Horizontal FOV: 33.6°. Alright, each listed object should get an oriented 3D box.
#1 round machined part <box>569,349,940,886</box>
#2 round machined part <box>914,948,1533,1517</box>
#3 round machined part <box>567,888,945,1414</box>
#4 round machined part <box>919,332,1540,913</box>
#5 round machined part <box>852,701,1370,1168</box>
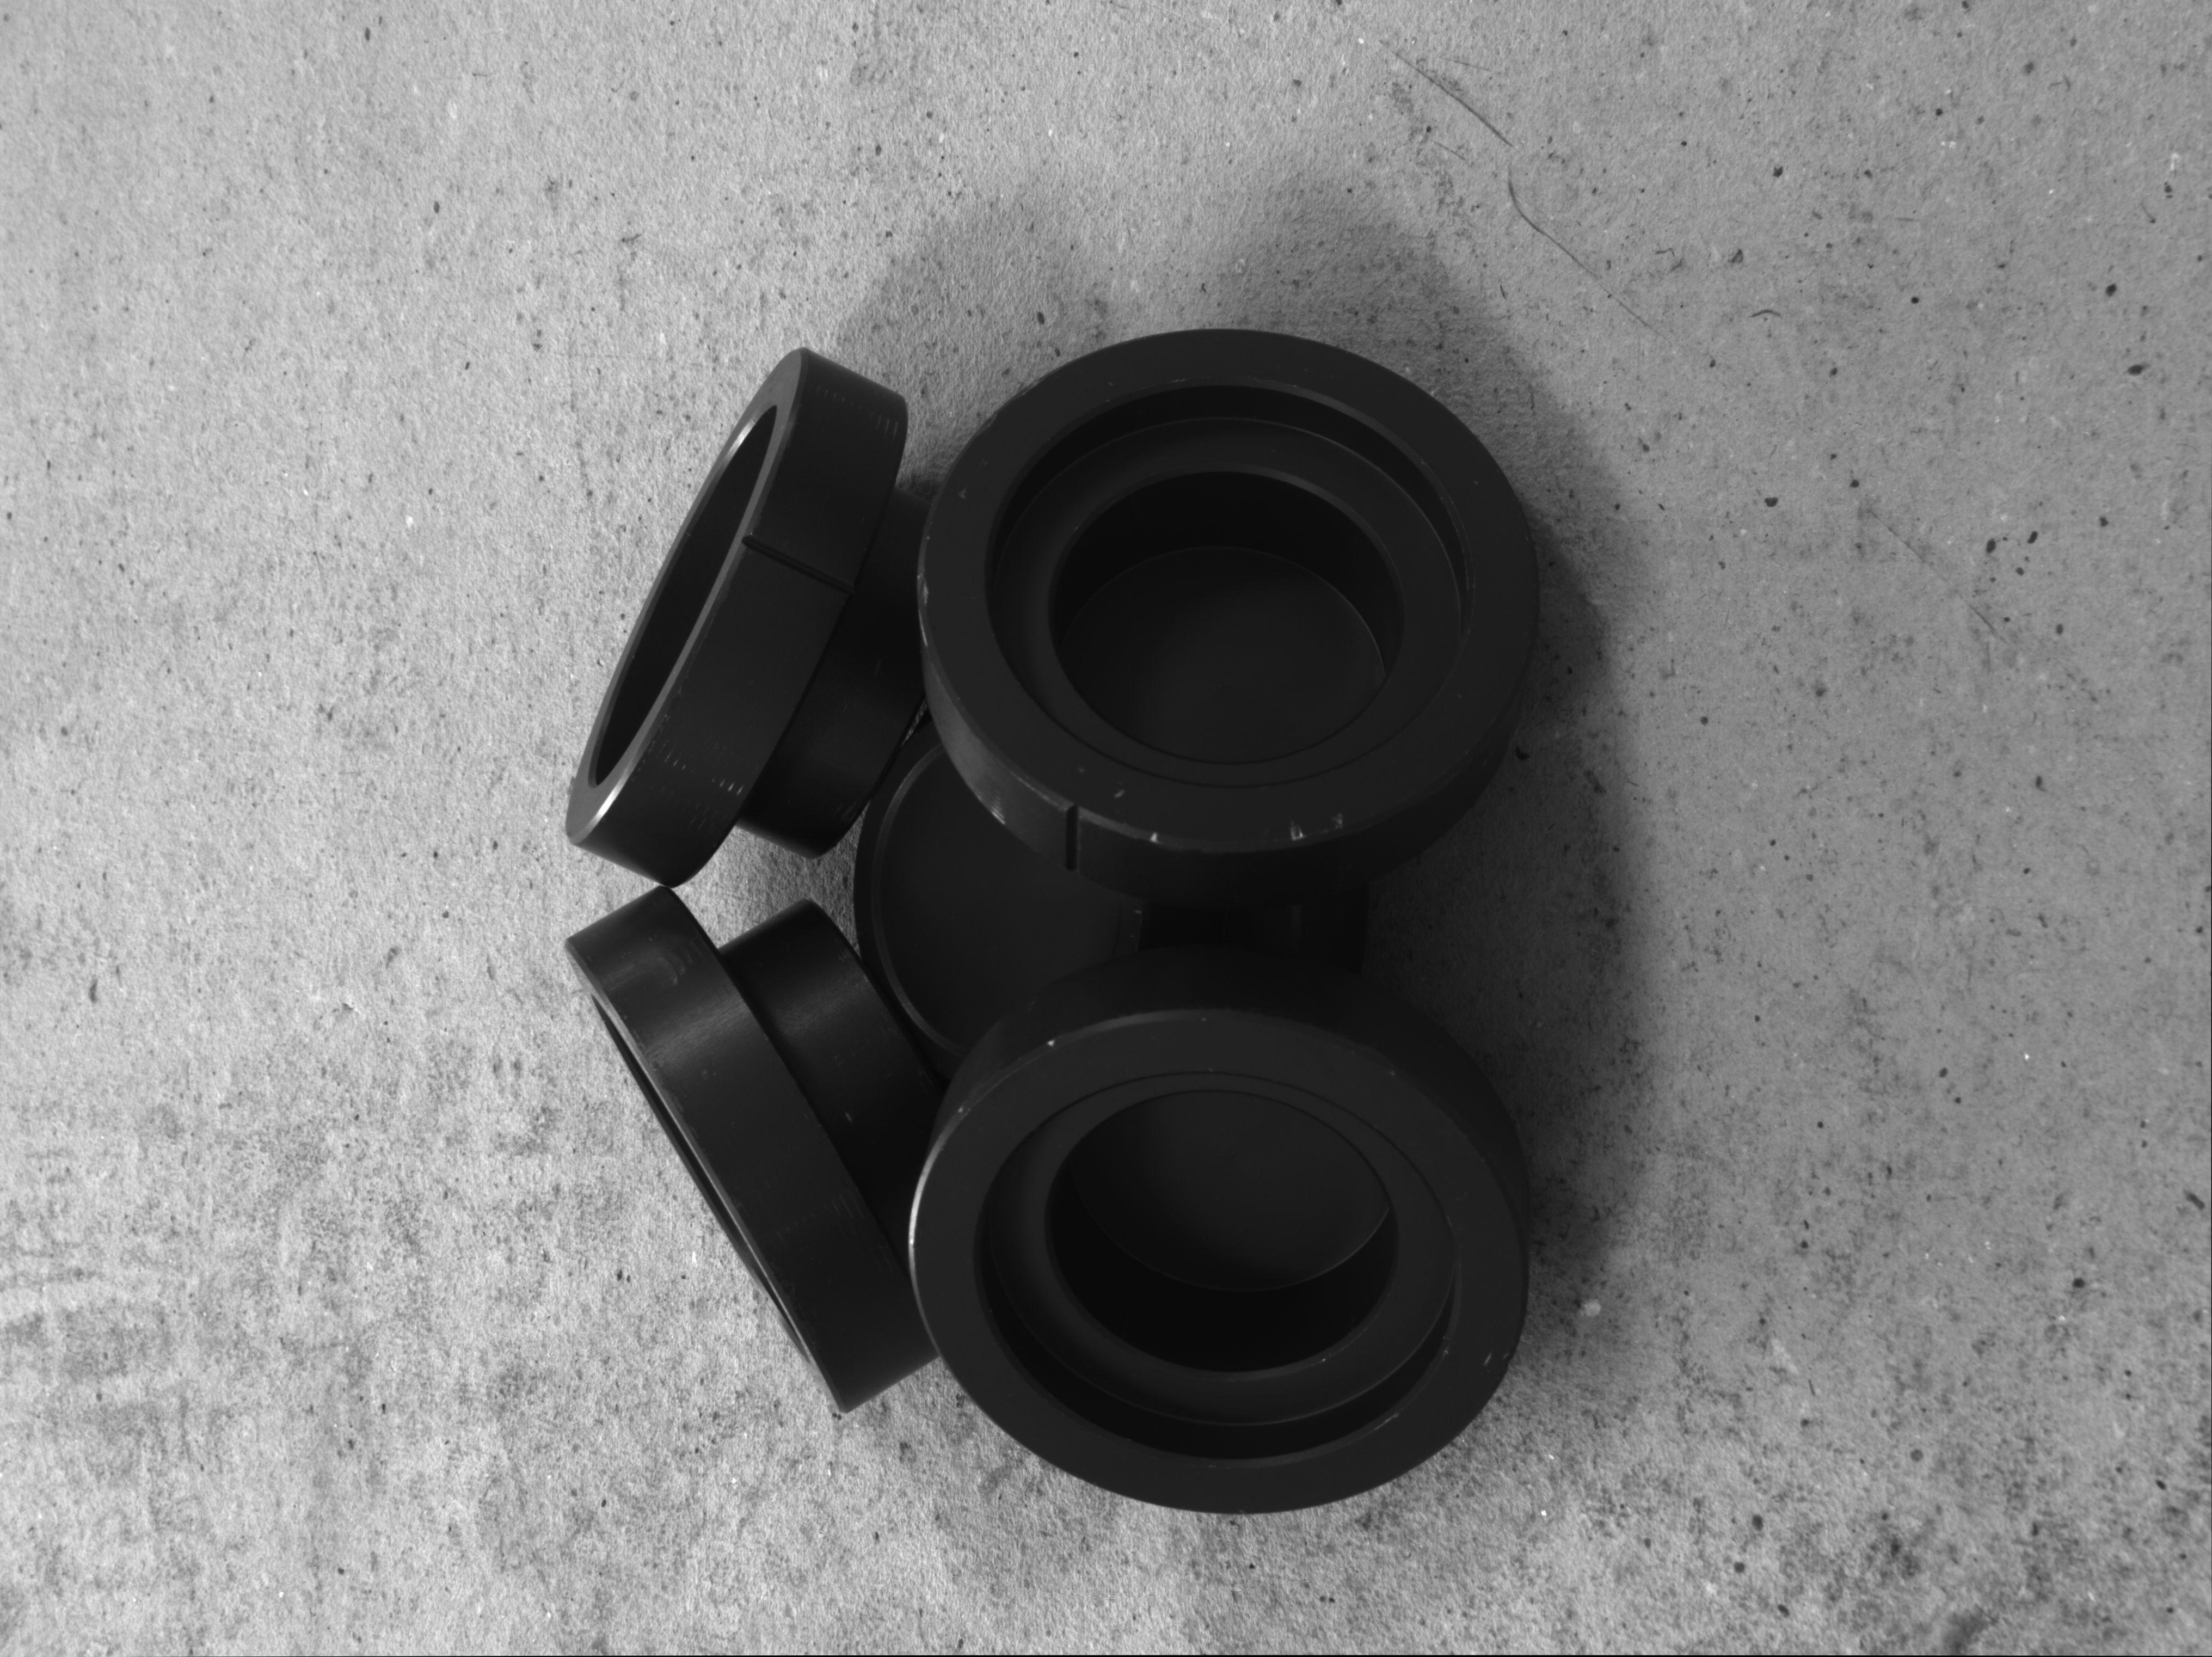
[{"bbox_3d":[-0.057,-0.033,0.662,0.098,0.042,0.098,-57,16,27],"label":"round machined part"},{"bbox_3d":[0.020,0.061,0.596,0.098,0.042,0.098,3,120,6],"label":"round machined part"},{"bbox_3d":[-0.054,0.052,0.657,0.042,0.098,0.098,-30,63,-11],"label":"round machined part"},{"bbox_3d":[0.019,-0.029,0.595,0.098,0.098,0.042,57,163,25],"label":"round machined part"},{"bbox_3d":[-0.006,0.011,0.638,0.098,0.042,0.098,-2,87,39],"label":"round machined part"}]
